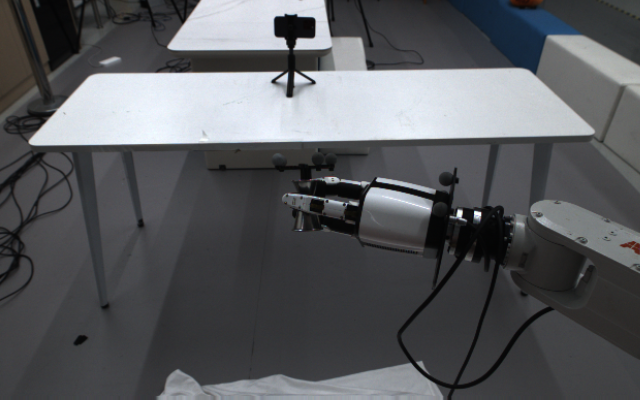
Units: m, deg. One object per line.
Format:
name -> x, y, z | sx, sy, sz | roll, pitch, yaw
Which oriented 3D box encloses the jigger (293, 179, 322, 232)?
jigger -> -0.018, 0.006, 0.656 | 0.043, 0.071, 0.043 | -2, 3, 0
